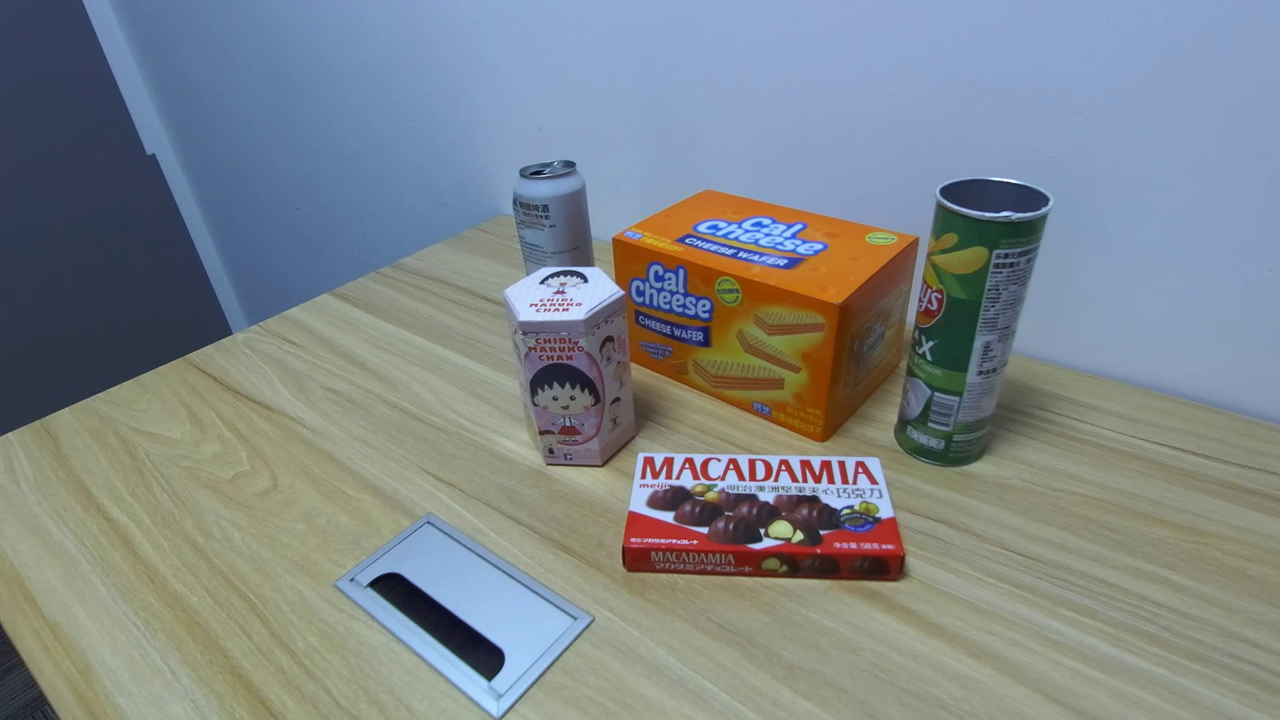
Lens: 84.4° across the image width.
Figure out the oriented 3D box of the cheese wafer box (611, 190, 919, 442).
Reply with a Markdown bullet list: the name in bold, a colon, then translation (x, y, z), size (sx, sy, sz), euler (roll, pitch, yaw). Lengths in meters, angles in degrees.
- **cheese wafer box**: translation (0.107, -0.051, 0.630), size (0.221, 0.129, 0.148), euler (23, 42, 34)

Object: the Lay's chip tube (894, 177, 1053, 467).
- **Lay's chip tube**: translation (0.233, -0.022, 0.505), size (0.071, 0.203, 0.071), euler (-3, 33, 3)

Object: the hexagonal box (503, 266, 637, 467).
- **hexagonal box**: translation (-0.051, 0.006, 0.549), size (0.091, 0.136, 0.084), euler (0, 33, 8)

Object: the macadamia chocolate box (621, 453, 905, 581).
- **macadamia chocolate box**: translation (0.082, 0.105, 0.487), size (0.178, 0.027, 0.095), euler (1, 33, 7)

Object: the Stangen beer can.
- **Stangen beer can**: translation (-0.080, -0.110, 0.696), size (0.070, 0.173, 0.070), euler (11, 34, 22)
